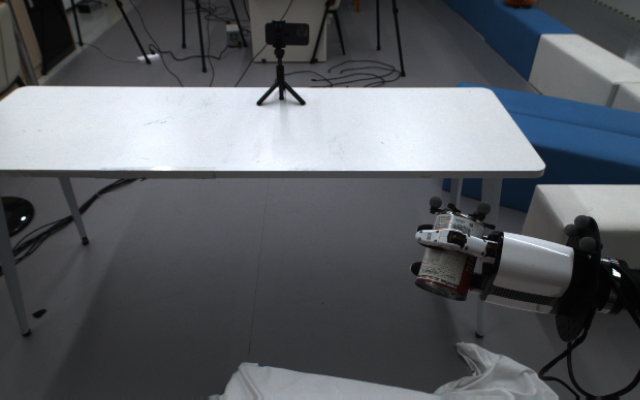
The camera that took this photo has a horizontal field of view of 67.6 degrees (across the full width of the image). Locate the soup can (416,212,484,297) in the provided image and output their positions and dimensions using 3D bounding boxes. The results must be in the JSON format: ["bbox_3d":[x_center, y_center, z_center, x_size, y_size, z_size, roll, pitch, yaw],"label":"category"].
[{"bbox_3d":[0.176,0.074,0.643,0.067,0.067,0.101,15,75,18],"label":"soup can"}]
